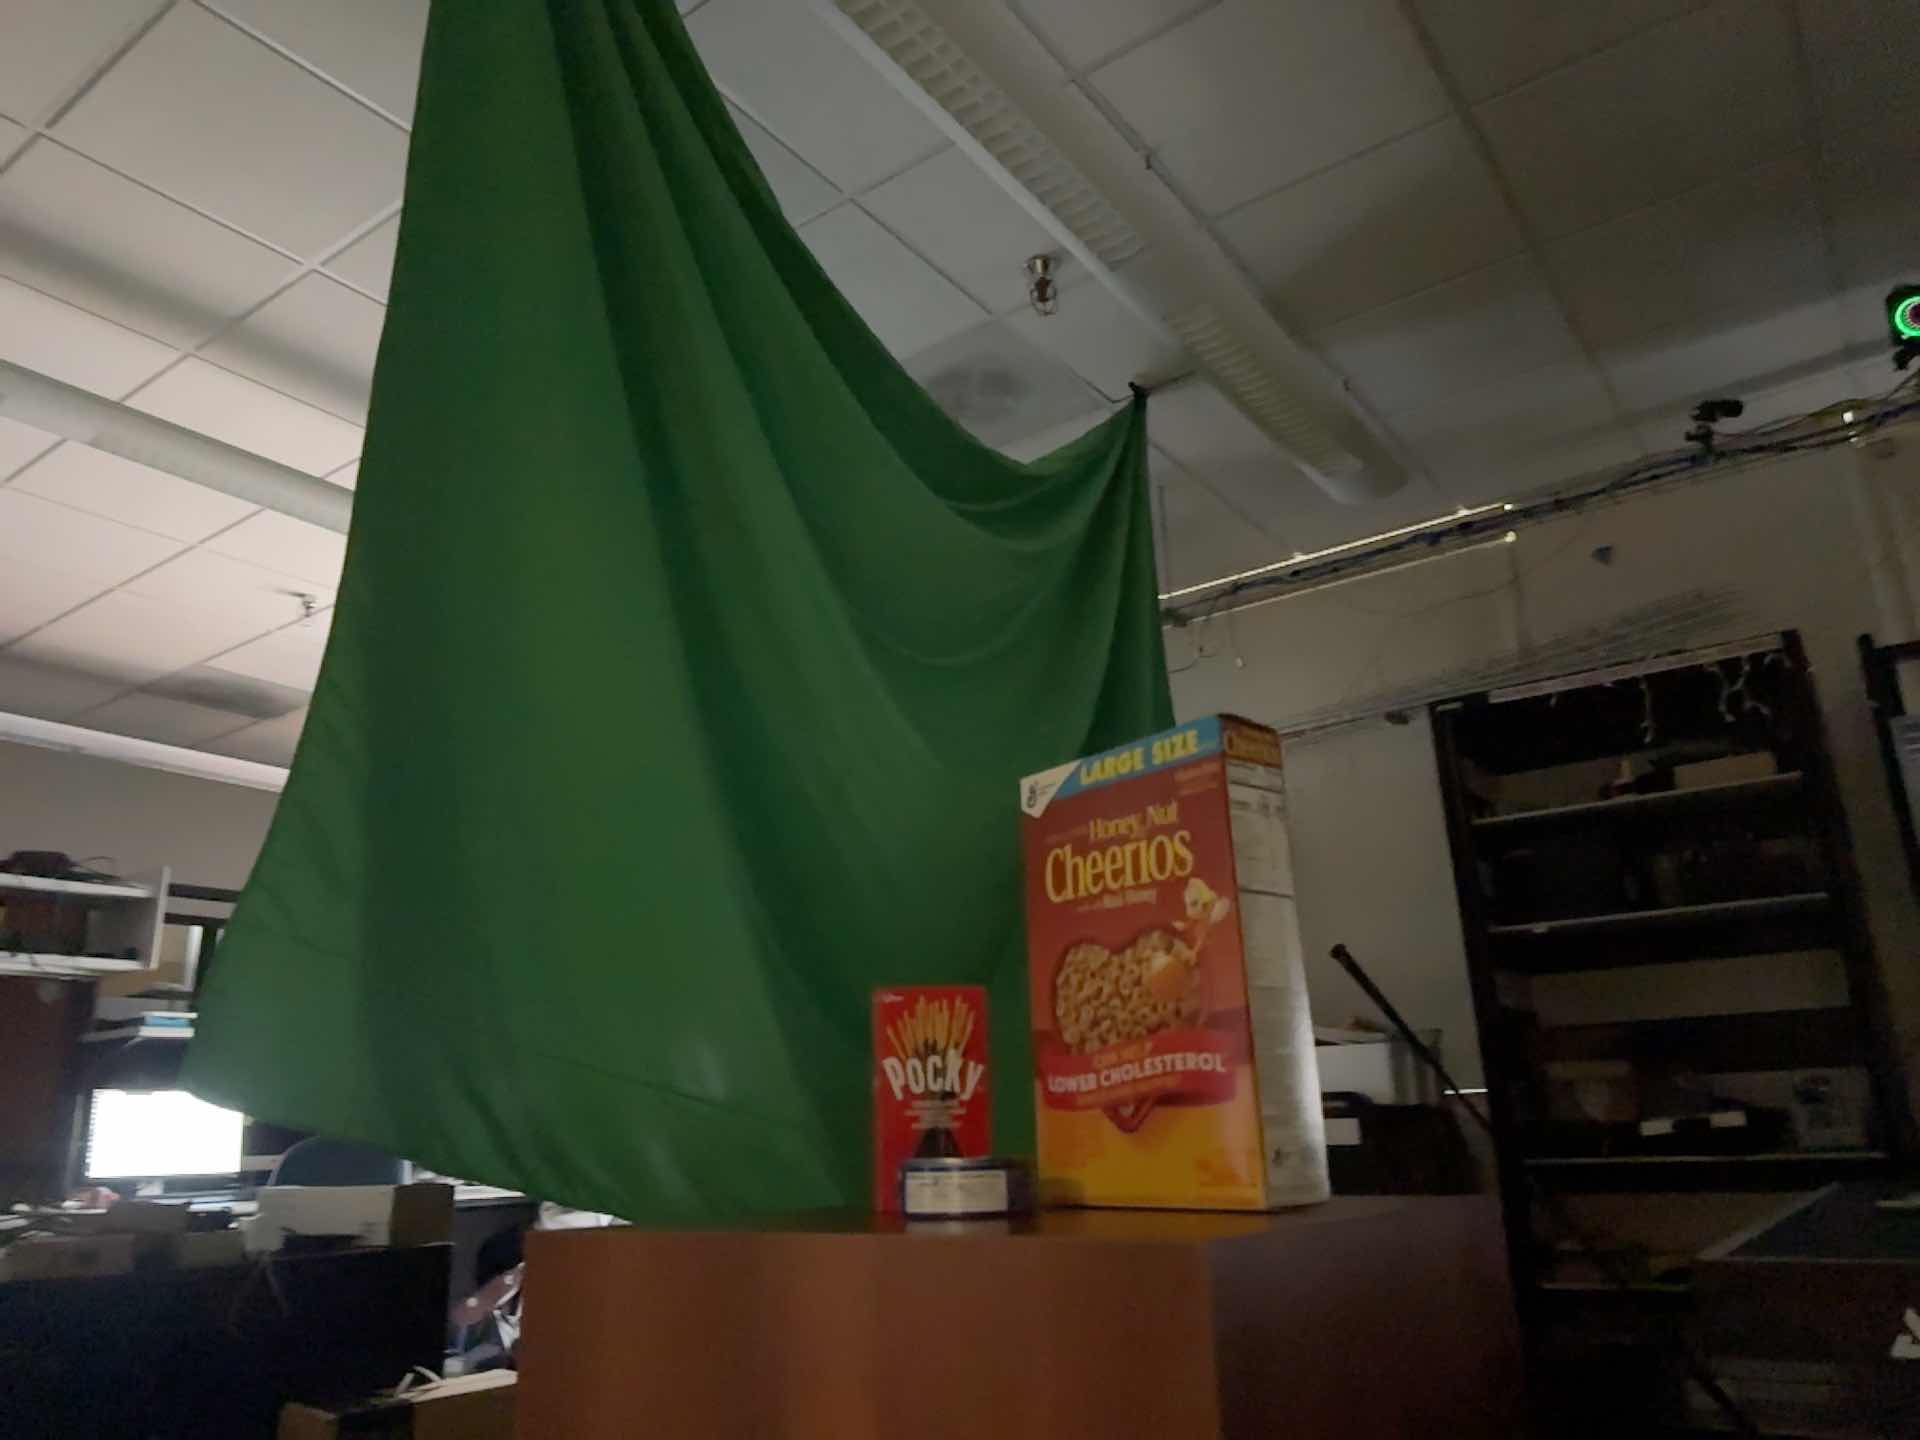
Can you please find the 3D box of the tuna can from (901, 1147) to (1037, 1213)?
[{"bbox_3d":[0.006,0.285,0.837,0.083,0.034,0.083,-2,-15,-1],"label":"tuna can"}]

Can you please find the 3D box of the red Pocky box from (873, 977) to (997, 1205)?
[{"bbox_3d":[-0.018,0.261,0.952,0.083,0.155,0.028,0,-15,-11],"label":"red Pocky box"}]

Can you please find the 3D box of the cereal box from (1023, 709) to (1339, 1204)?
[{"bbox_3d":[0.138,0.165,0.914,0.065,0.297,0.195,11,-20,-39],"label":"cereal box"}]
